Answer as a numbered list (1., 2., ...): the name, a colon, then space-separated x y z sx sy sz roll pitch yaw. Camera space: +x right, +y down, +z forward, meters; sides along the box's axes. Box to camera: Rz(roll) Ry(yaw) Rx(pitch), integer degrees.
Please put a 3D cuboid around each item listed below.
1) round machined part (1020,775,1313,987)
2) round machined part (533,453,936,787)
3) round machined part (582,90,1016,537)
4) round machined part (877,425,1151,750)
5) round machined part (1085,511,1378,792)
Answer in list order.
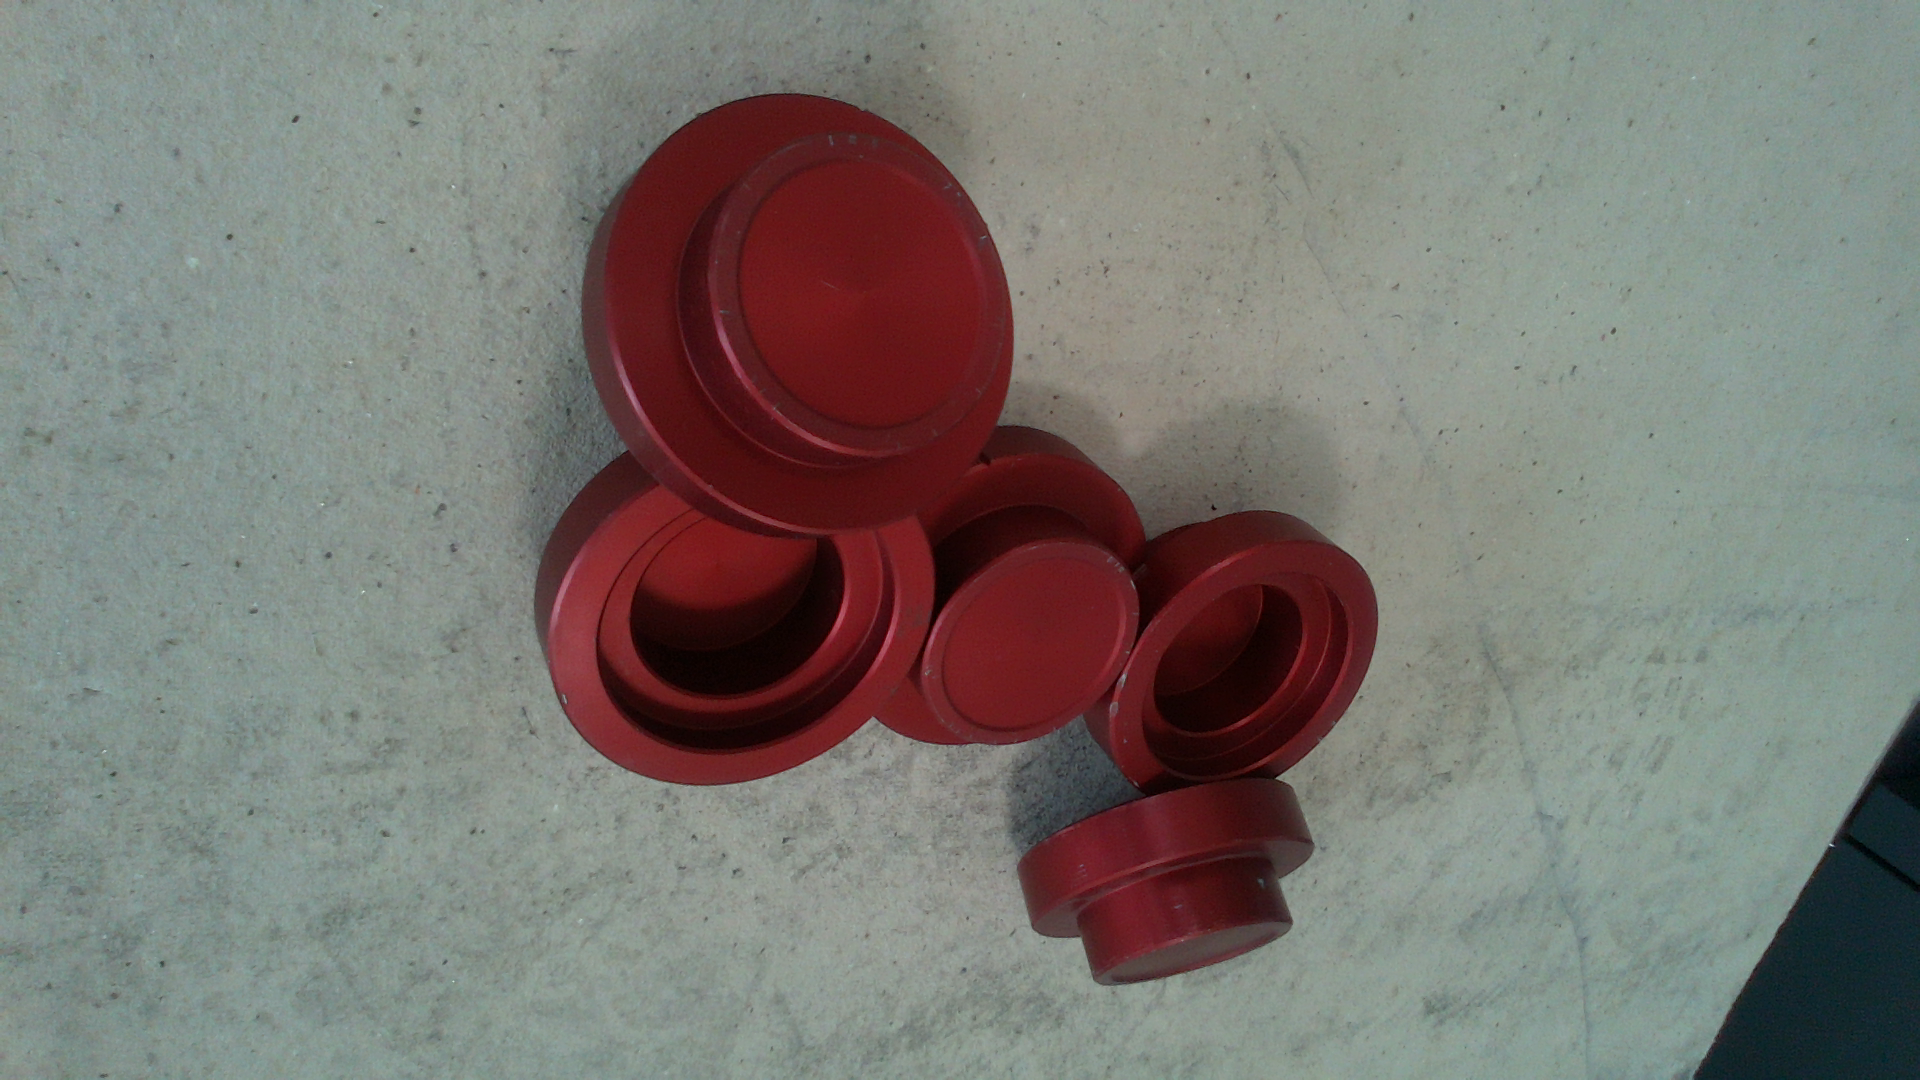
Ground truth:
1. round machined part: 0.072 0.118 0.460 0.098 0.042 0.098 -13 151 -7
2. round machined part: -0.059 0.012 0.353 0.098 0.042 0.098 -13 124 -20
3. round machined part: -0.029 -0.050 0.303 0.098 0.042 0.098 2 87 -29
4. round machined part: 0.013 0.020 0.396 0.098 0.042 0.098 -12 121 -21
5. round machined part: 0.081 0.034 0.442 0.098 0.042 0.098 -13 124 -20
